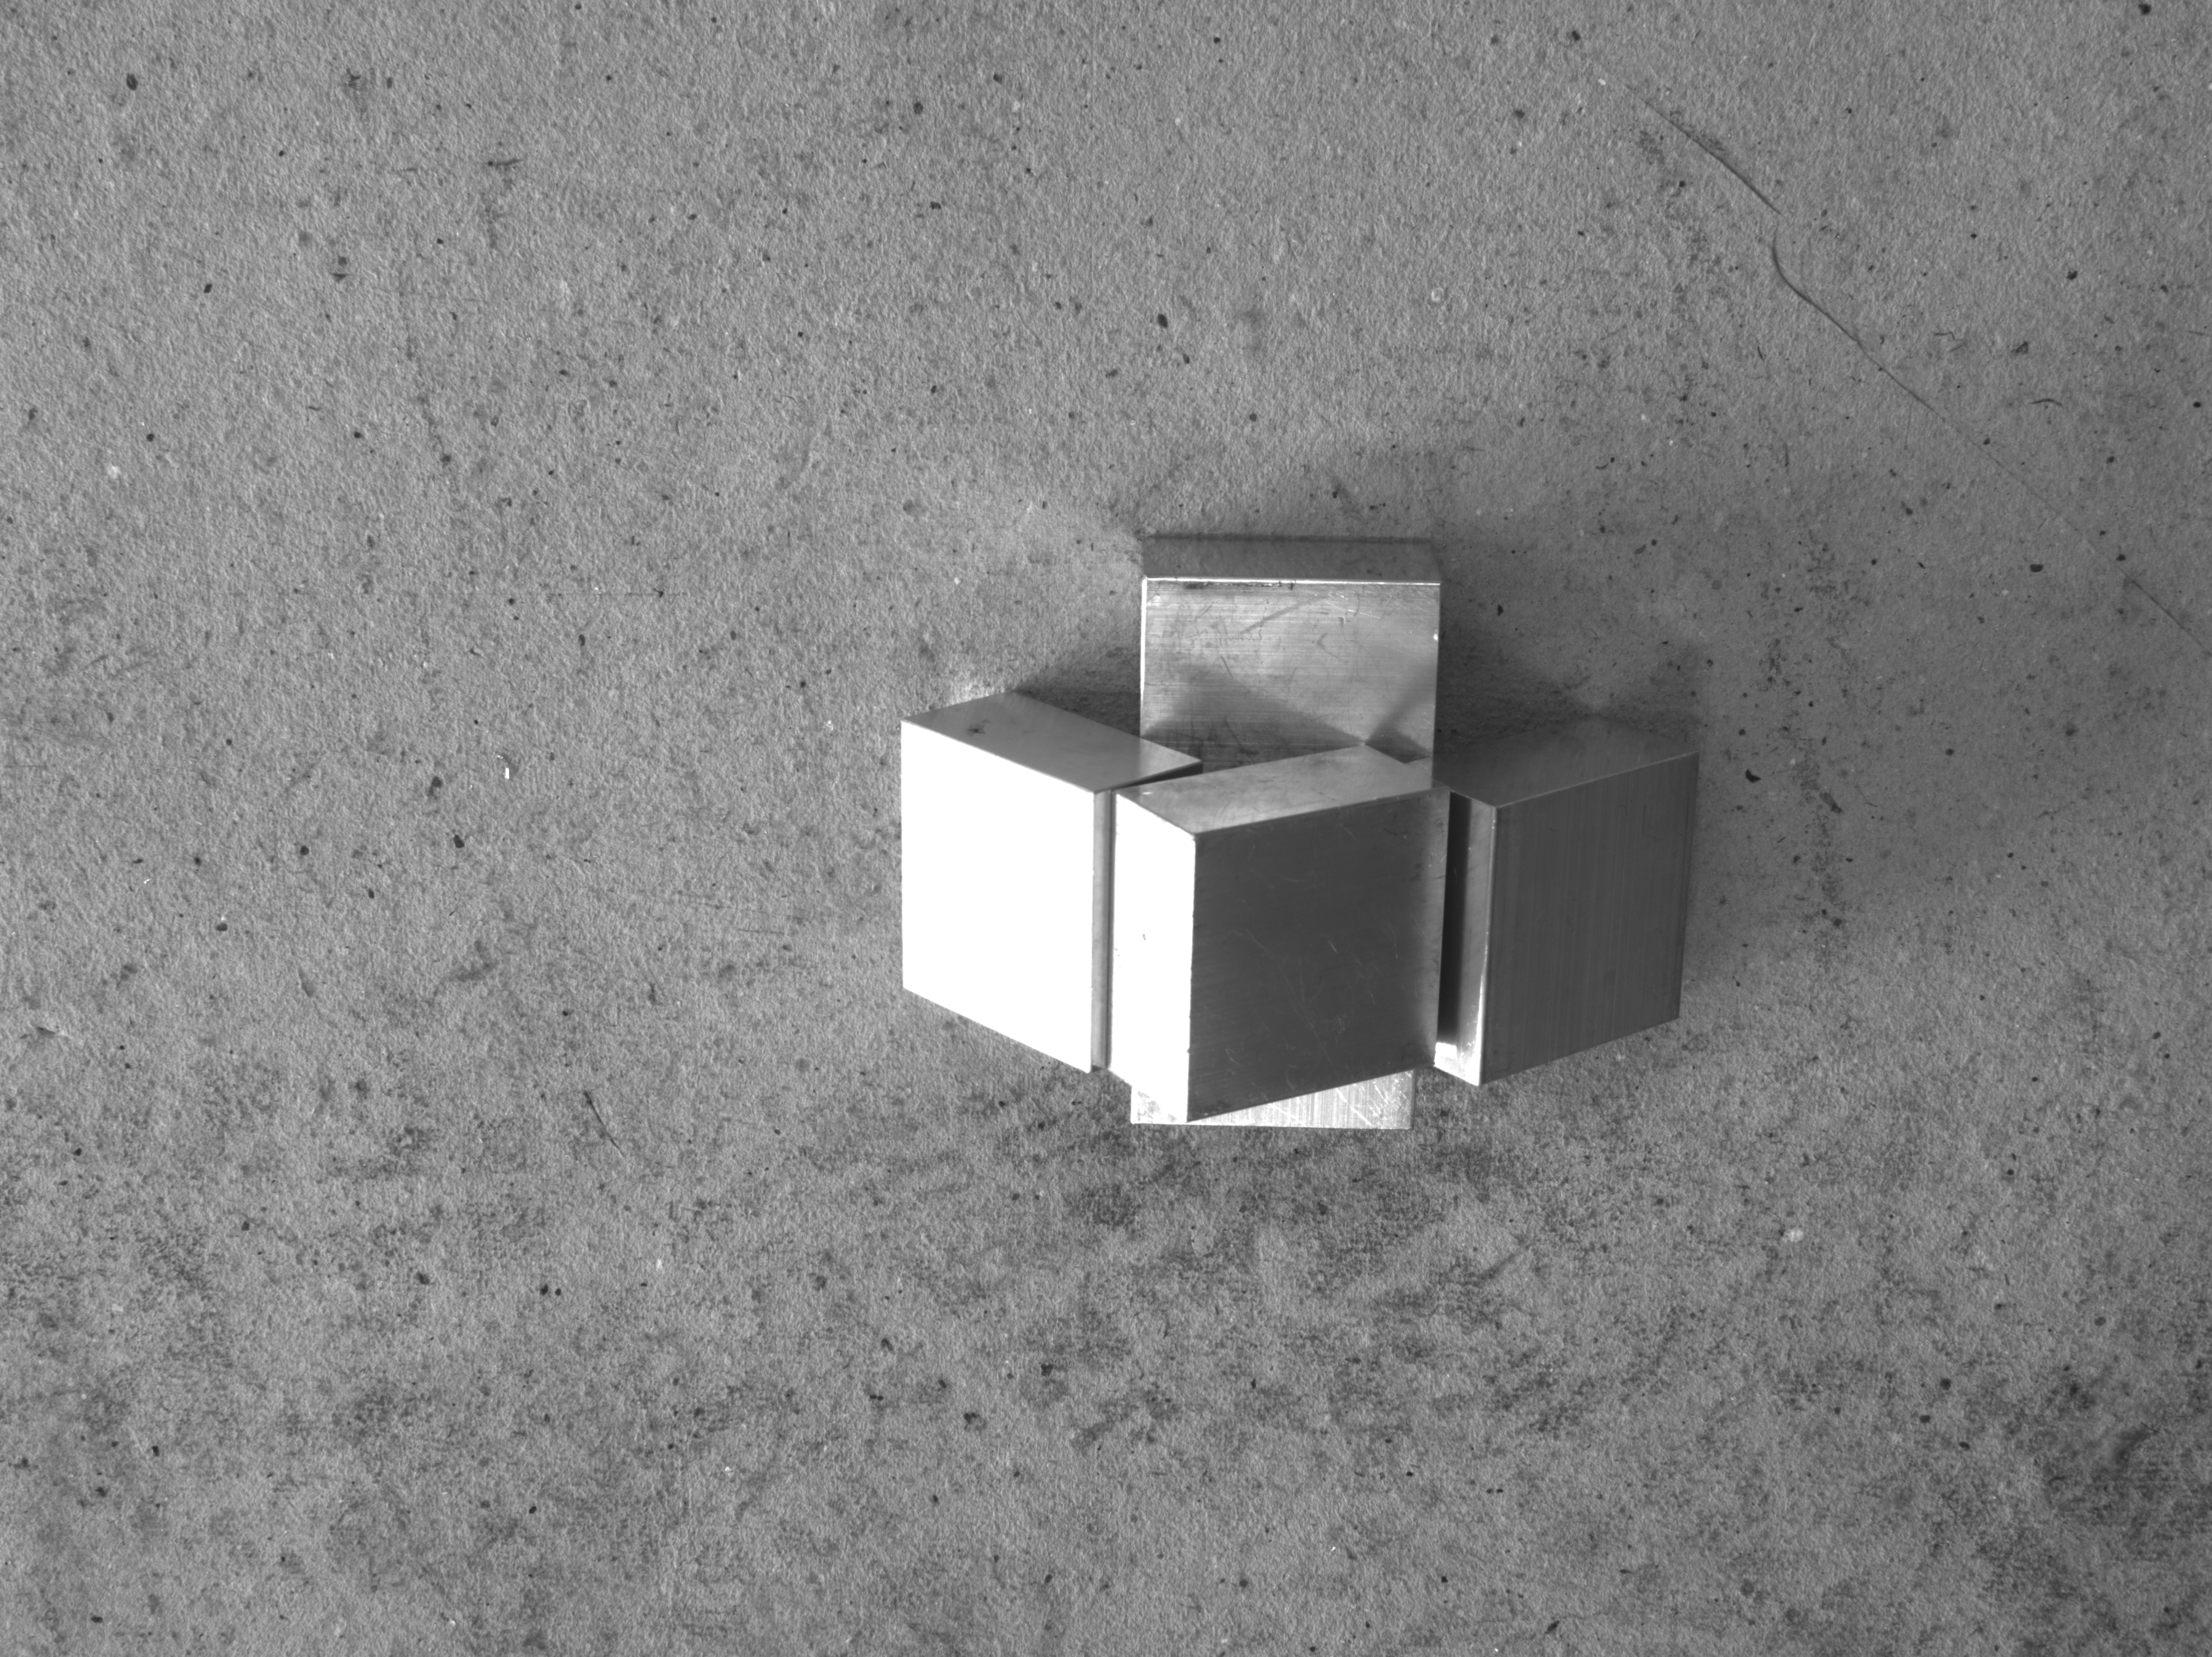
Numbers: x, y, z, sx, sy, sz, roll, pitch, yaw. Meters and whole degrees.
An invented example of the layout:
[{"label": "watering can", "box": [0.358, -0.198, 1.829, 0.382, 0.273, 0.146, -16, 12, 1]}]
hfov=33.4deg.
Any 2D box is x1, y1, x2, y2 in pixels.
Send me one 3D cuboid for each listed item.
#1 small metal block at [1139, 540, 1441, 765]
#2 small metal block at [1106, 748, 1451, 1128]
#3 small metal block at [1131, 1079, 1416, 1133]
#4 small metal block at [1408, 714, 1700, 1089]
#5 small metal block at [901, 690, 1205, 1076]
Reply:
[{"label": "small metal block", "box": [0.031, -0.022, 0.636, 0.050, 0.025, 0.050, 1, 110, 0]}, {"label": "small metal block", "box": [0.028, 0.017, 0.612, 0.050, 0.025, 0.050, -10, 113, -29]}, {"label": "small metal block", "box": [0.030, 0.026, 0.653, 0.050, 0.025, 0.050, 1, 110, 0]}, {"label": "small metal block", "box": [0.074, 0.012, 0.635, 0.050, 0.025, 0.050, -15, 116, -37]}, {"label": "small metal block", "box": [-0.010, 0.008, 0.632, 0.025, 0.050, 0.050, -17, 116, -39]}]
